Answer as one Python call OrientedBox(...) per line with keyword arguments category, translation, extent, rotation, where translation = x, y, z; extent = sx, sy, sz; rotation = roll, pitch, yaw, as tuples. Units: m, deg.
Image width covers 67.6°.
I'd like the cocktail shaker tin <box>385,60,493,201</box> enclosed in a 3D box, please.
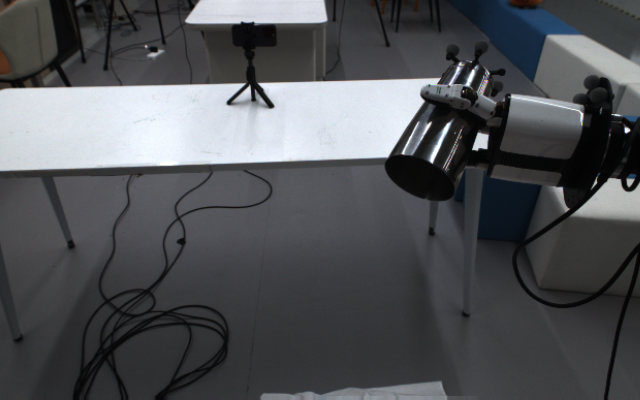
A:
OrientedBox(category="cocktail shaker tin", translation=(0.162, -0.098, 0.614), extent=(0.093, 0.093, 0.170), rotation=(19, 67, 23))
